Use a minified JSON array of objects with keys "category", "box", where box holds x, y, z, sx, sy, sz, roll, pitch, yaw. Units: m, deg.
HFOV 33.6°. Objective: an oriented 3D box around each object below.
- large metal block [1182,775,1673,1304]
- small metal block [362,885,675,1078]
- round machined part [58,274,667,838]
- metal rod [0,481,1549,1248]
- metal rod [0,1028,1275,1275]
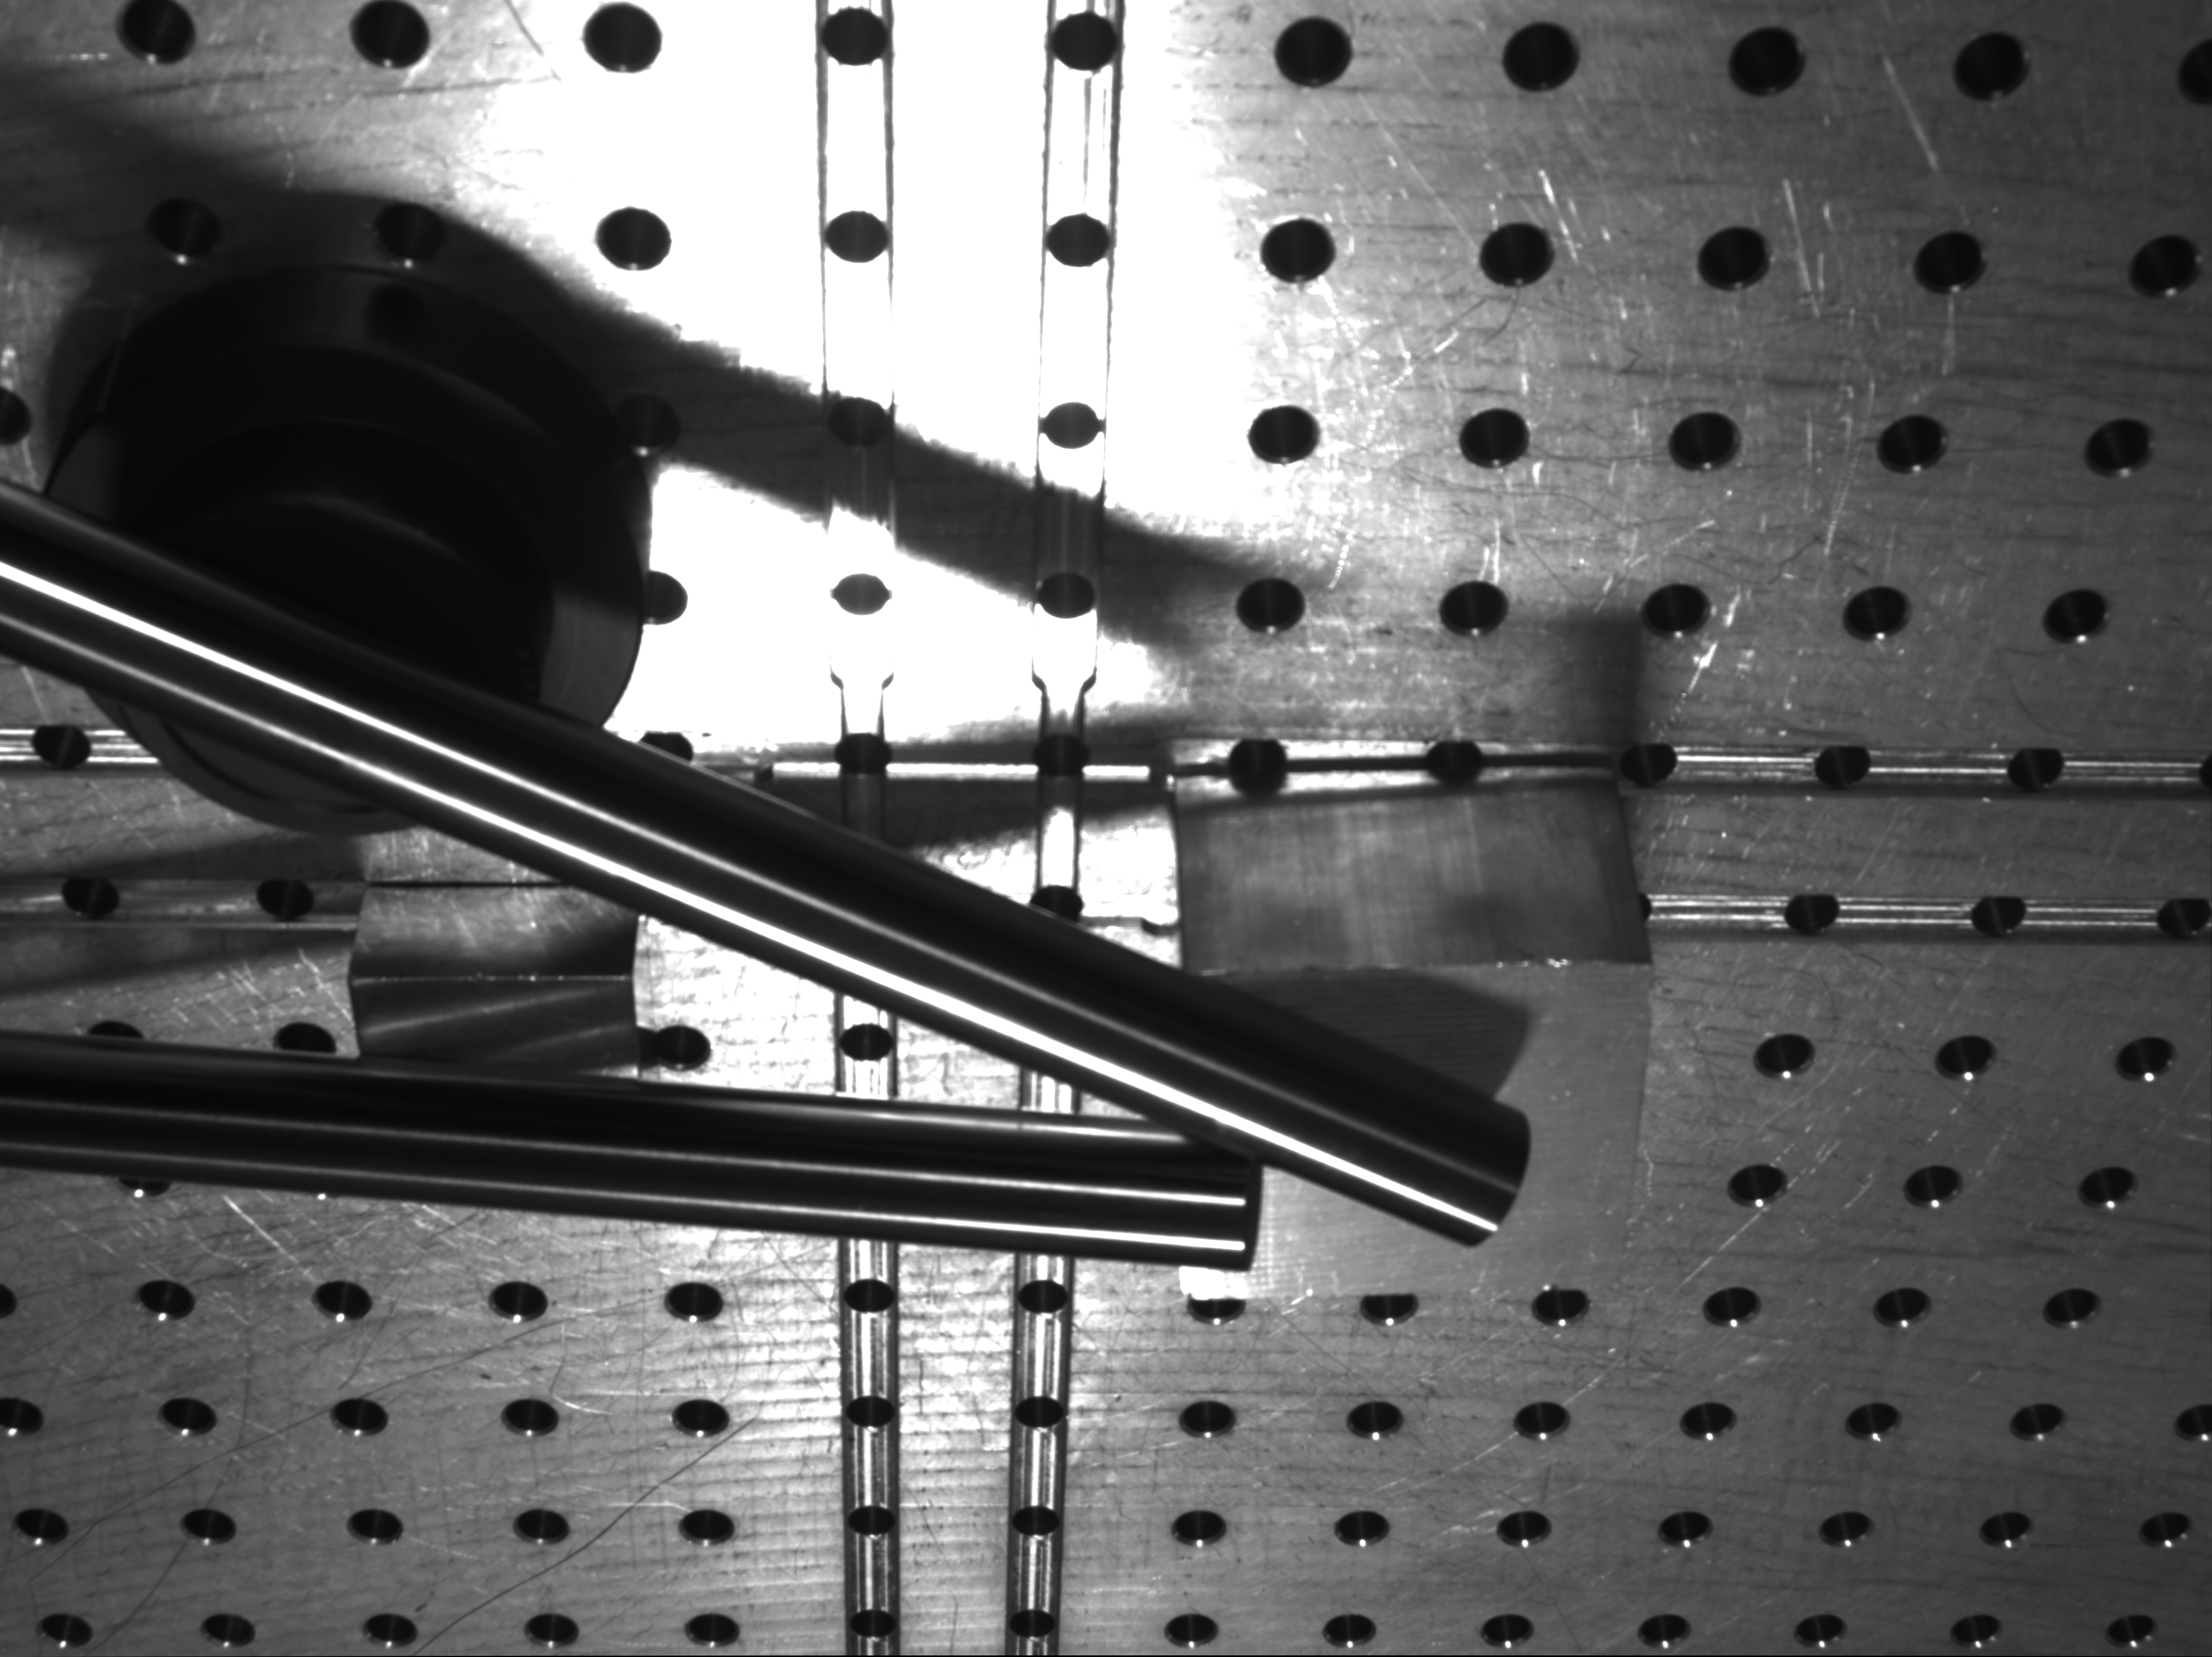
[{"category":"large metal block","box":[0.055,0.038,0.655,0.080,0.050,0.080,-2,130,-1]},{"category":"small metal block","box":[-0.106,0.037,0.670,0.050,0.025,0.050,0,130,-2]},{"category":"round machined part","box":[-0.122,-0.037,0.595,0.098,0.042,0.098,-1,130,-1]},{"category":"metal rod","box":[-0.065,0.003,0.579,0.300,0.025,0.025,23,126,-16]},{"category":"metal rod","box":[-0.121,0.054,0.647,0.300,0.025,0.025,4,131,9]}]
